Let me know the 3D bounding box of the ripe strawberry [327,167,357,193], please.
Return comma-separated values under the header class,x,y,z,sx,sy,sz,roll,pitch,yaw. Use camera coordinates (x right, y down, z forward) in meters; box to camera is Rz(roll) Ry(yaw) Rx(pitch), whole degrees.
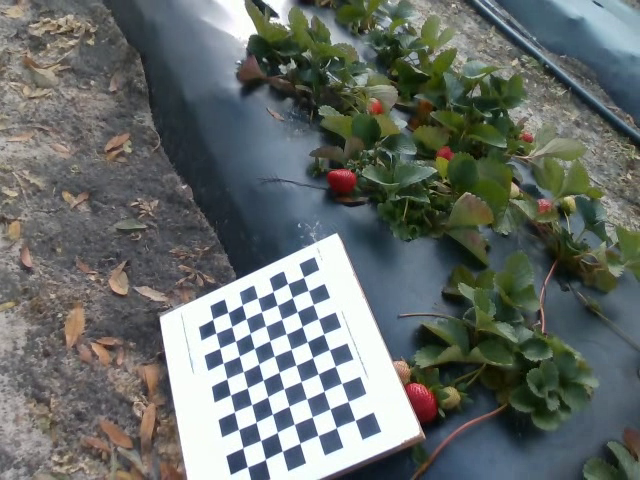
class,x,y,z,sx,sy,sz,roll,pitch,yaw
ripe strawberry,0.033,-0.105,0.990,0.049,0.050,0.053,-43,-36,17
